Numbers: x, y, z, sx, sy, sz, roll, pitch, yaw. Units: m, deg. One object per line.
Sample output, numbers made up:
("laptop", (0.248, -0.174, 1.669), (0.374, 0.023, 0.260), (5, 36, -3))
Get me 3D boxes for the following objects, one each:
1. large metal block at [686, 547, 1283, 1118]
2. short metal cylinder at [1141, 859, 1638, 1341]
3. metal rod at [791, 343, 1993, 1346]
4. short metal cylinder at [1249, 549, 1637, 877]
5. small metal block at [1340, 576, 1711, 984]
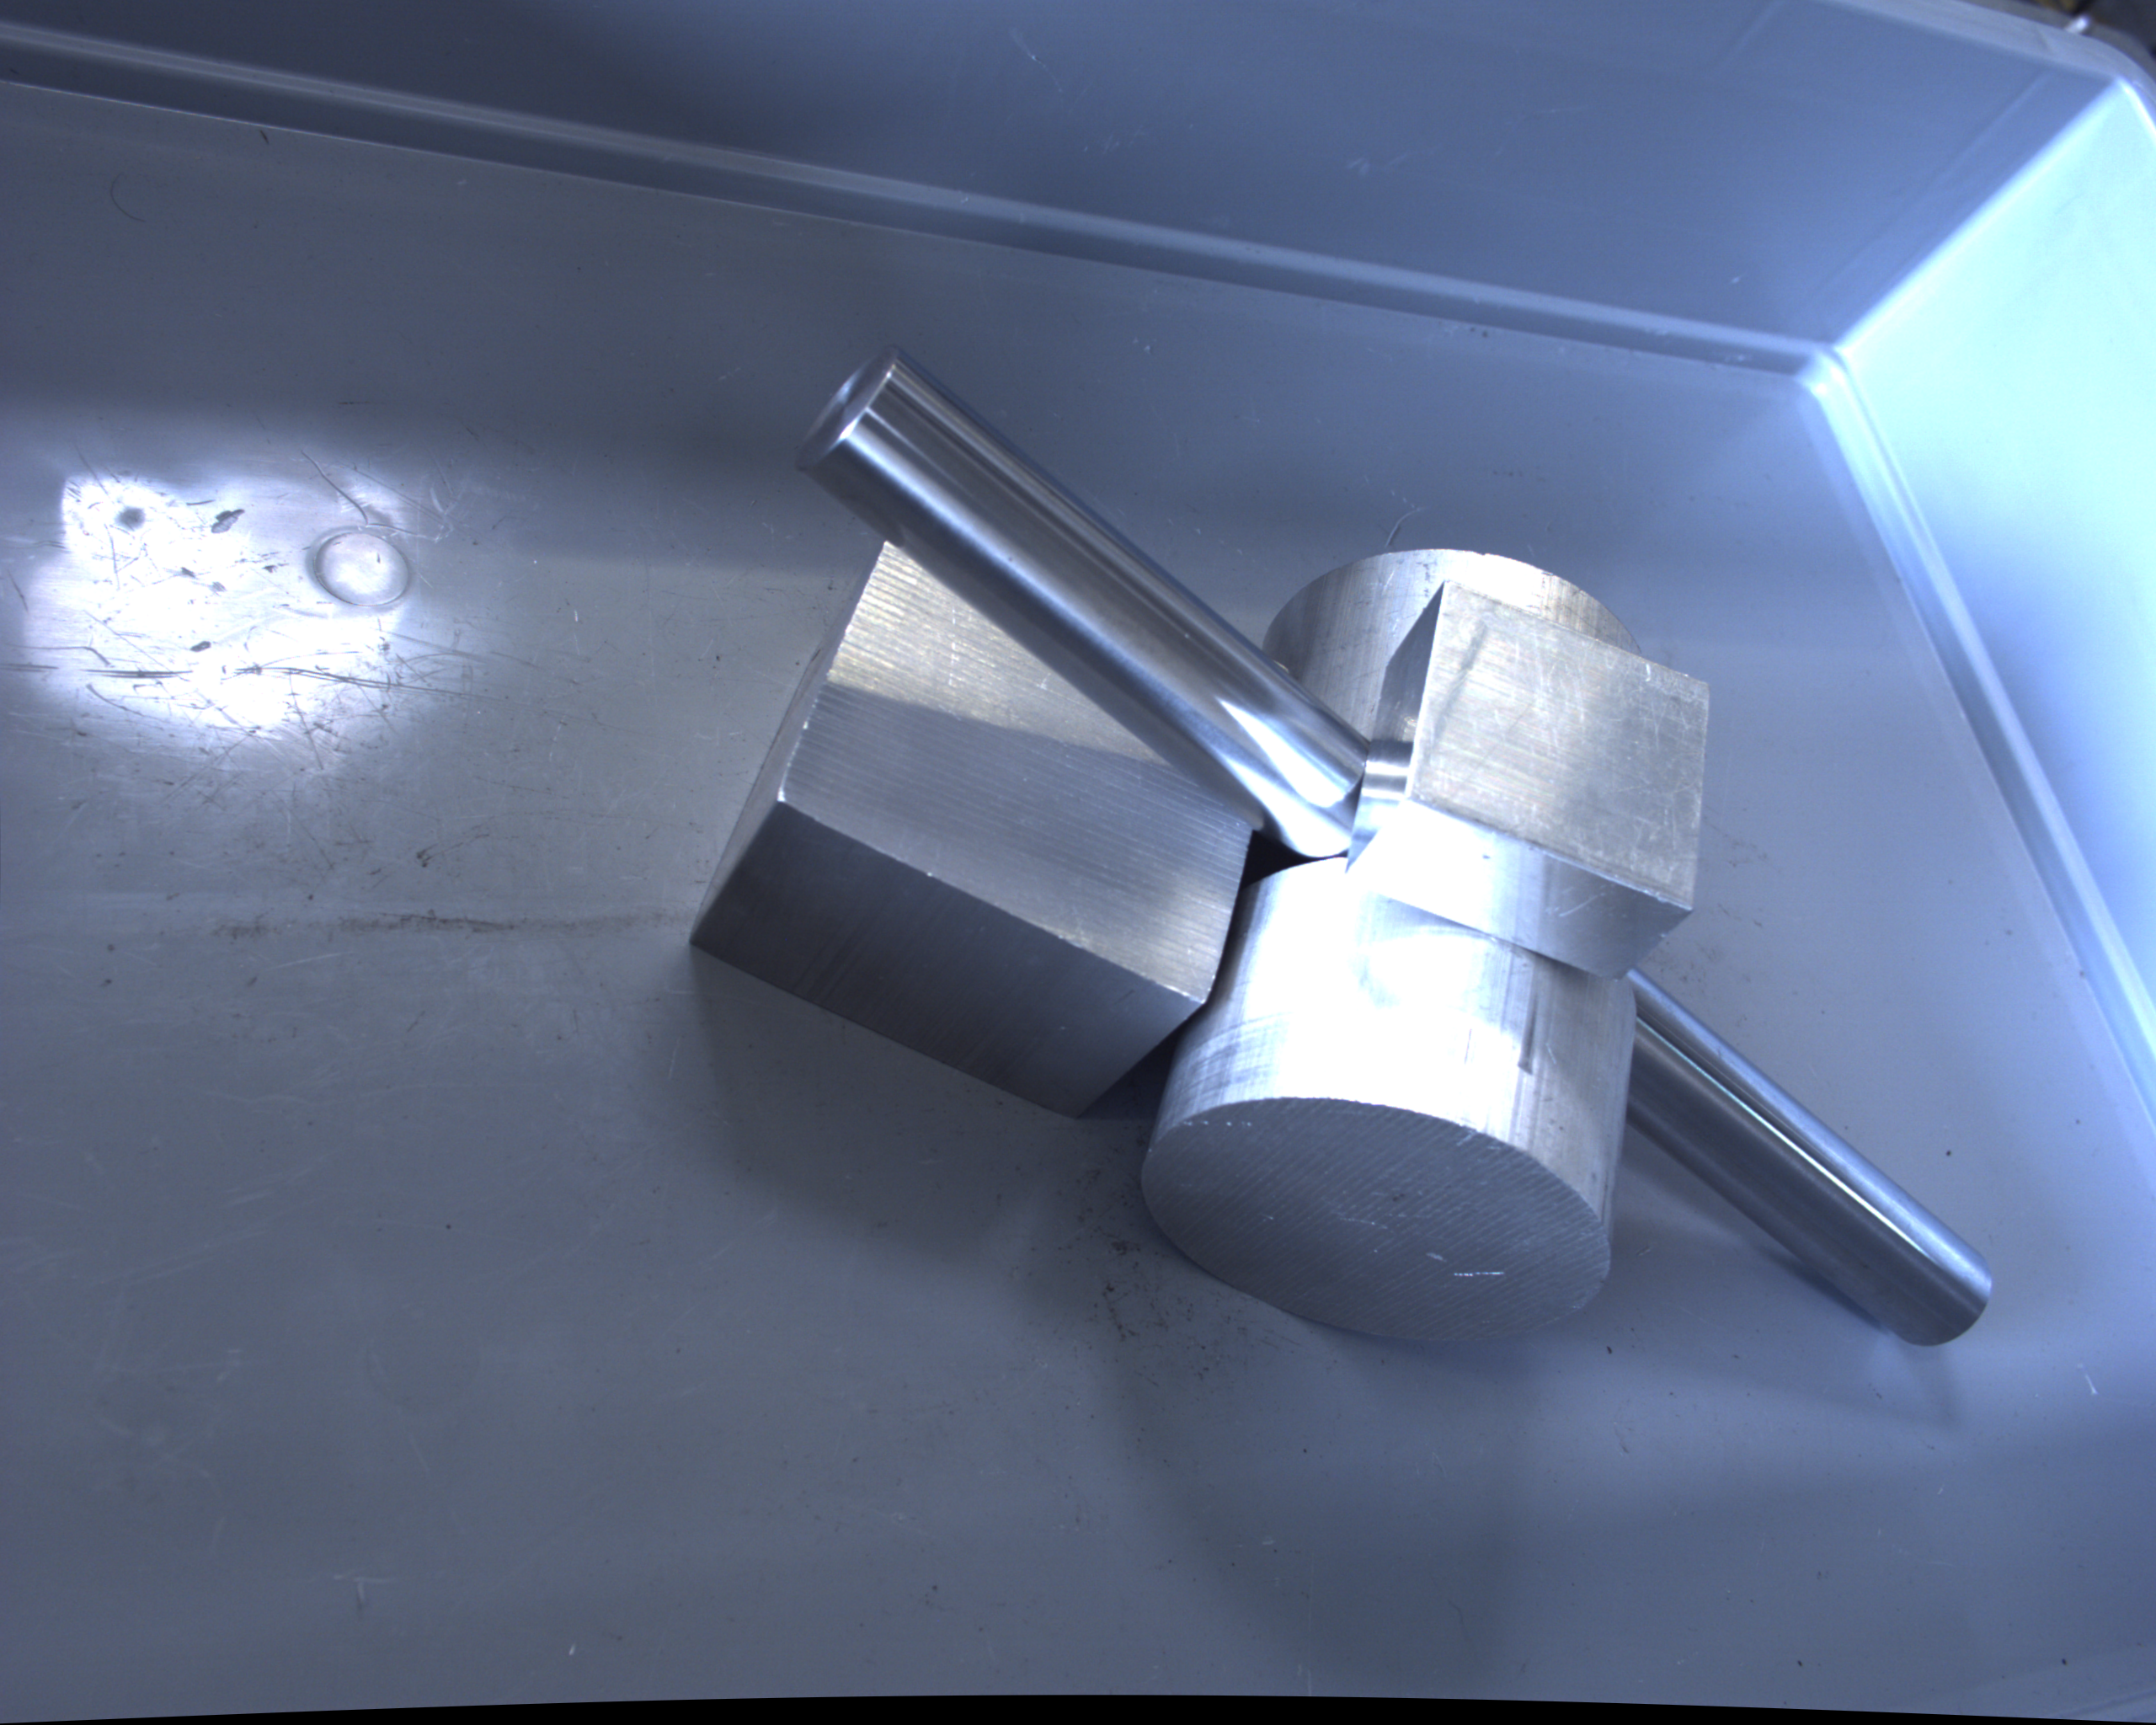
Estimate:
("large metal block", (-0.014, -0.012, 0.384), (0.080, 0.050, 0.080), (26, 53, -12))
("short metal cylinder", (0.056, 0.044, 0.372), (0.080, 0.080, 0.050), (27, 53, -12))
("metal rod", (0.074, 0.010, 0.387), (0.301, 0.025, 0.025), (36, 50, -24))
("short metal cylinder", (0.072, -0.016, 0.418), (0.080, 0.080, 0.050), (25, 53, -13))
("small metal block", (0.076, -0.014, 0.352), (0.050, 0.025, 0.050), (21, 54, -6))
